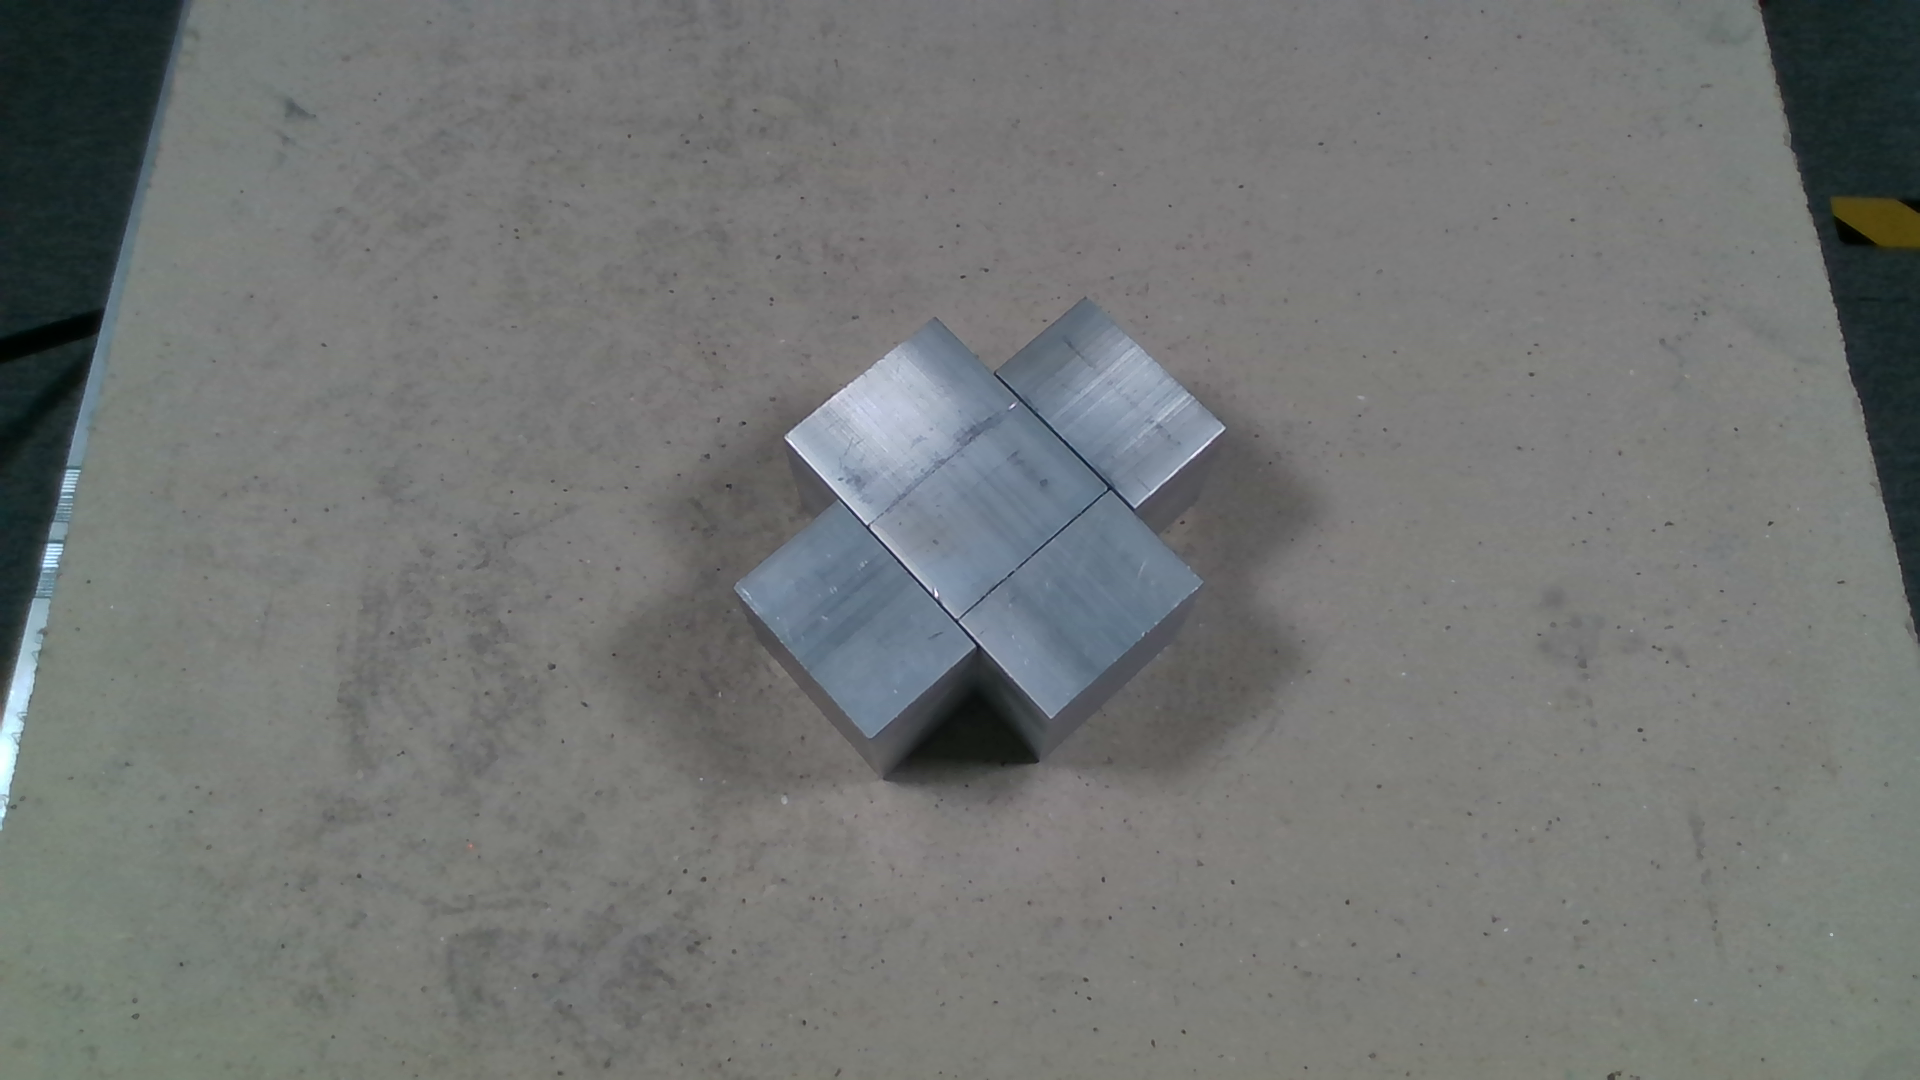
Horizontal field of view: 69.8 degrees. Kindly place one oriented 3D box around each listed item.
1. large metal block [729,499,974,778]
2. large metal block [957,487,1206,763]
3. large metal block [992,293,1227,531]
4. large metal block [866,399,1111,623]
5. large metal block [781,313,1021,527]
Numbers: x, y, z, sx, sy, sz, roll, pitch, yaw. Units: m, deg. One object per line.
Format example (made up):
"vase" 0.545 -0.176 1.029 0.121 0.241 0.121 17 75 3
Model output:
"large metal block" -0.040 0.042 0.545 0.050 0.080 0.080 -41 75 -13
"large metal block" 0.045 0.036 0.547 0.080 0.080 0.050 -41 75 -13
"large metal block" 0.058 -0.042 0.575 0.050 0.080 0.080 -41 75 -13
"large metal block" 0.011 0.001 0.559 0.080 0.080 0.050 -41 75 -13
"large metal block" -0.022 -0.034 0.572 0.080 0.080 0.050 -41 75 -13
